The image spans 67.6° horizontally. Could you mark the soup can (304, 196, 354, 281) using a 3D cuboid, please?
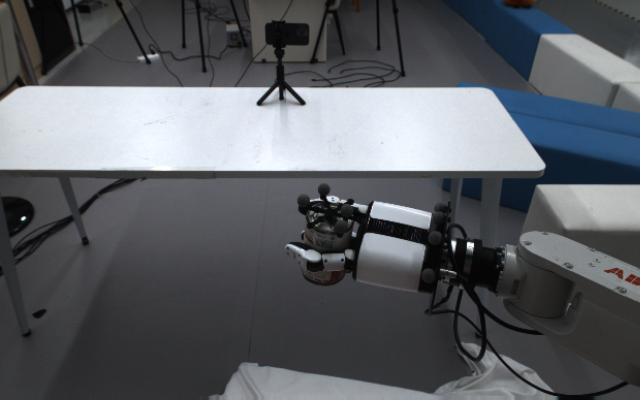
[{"bbox_3d":[0.011,0.063,0.684,0.067,0.101,0.067,5,37,-3],"label":"soup can"}]
